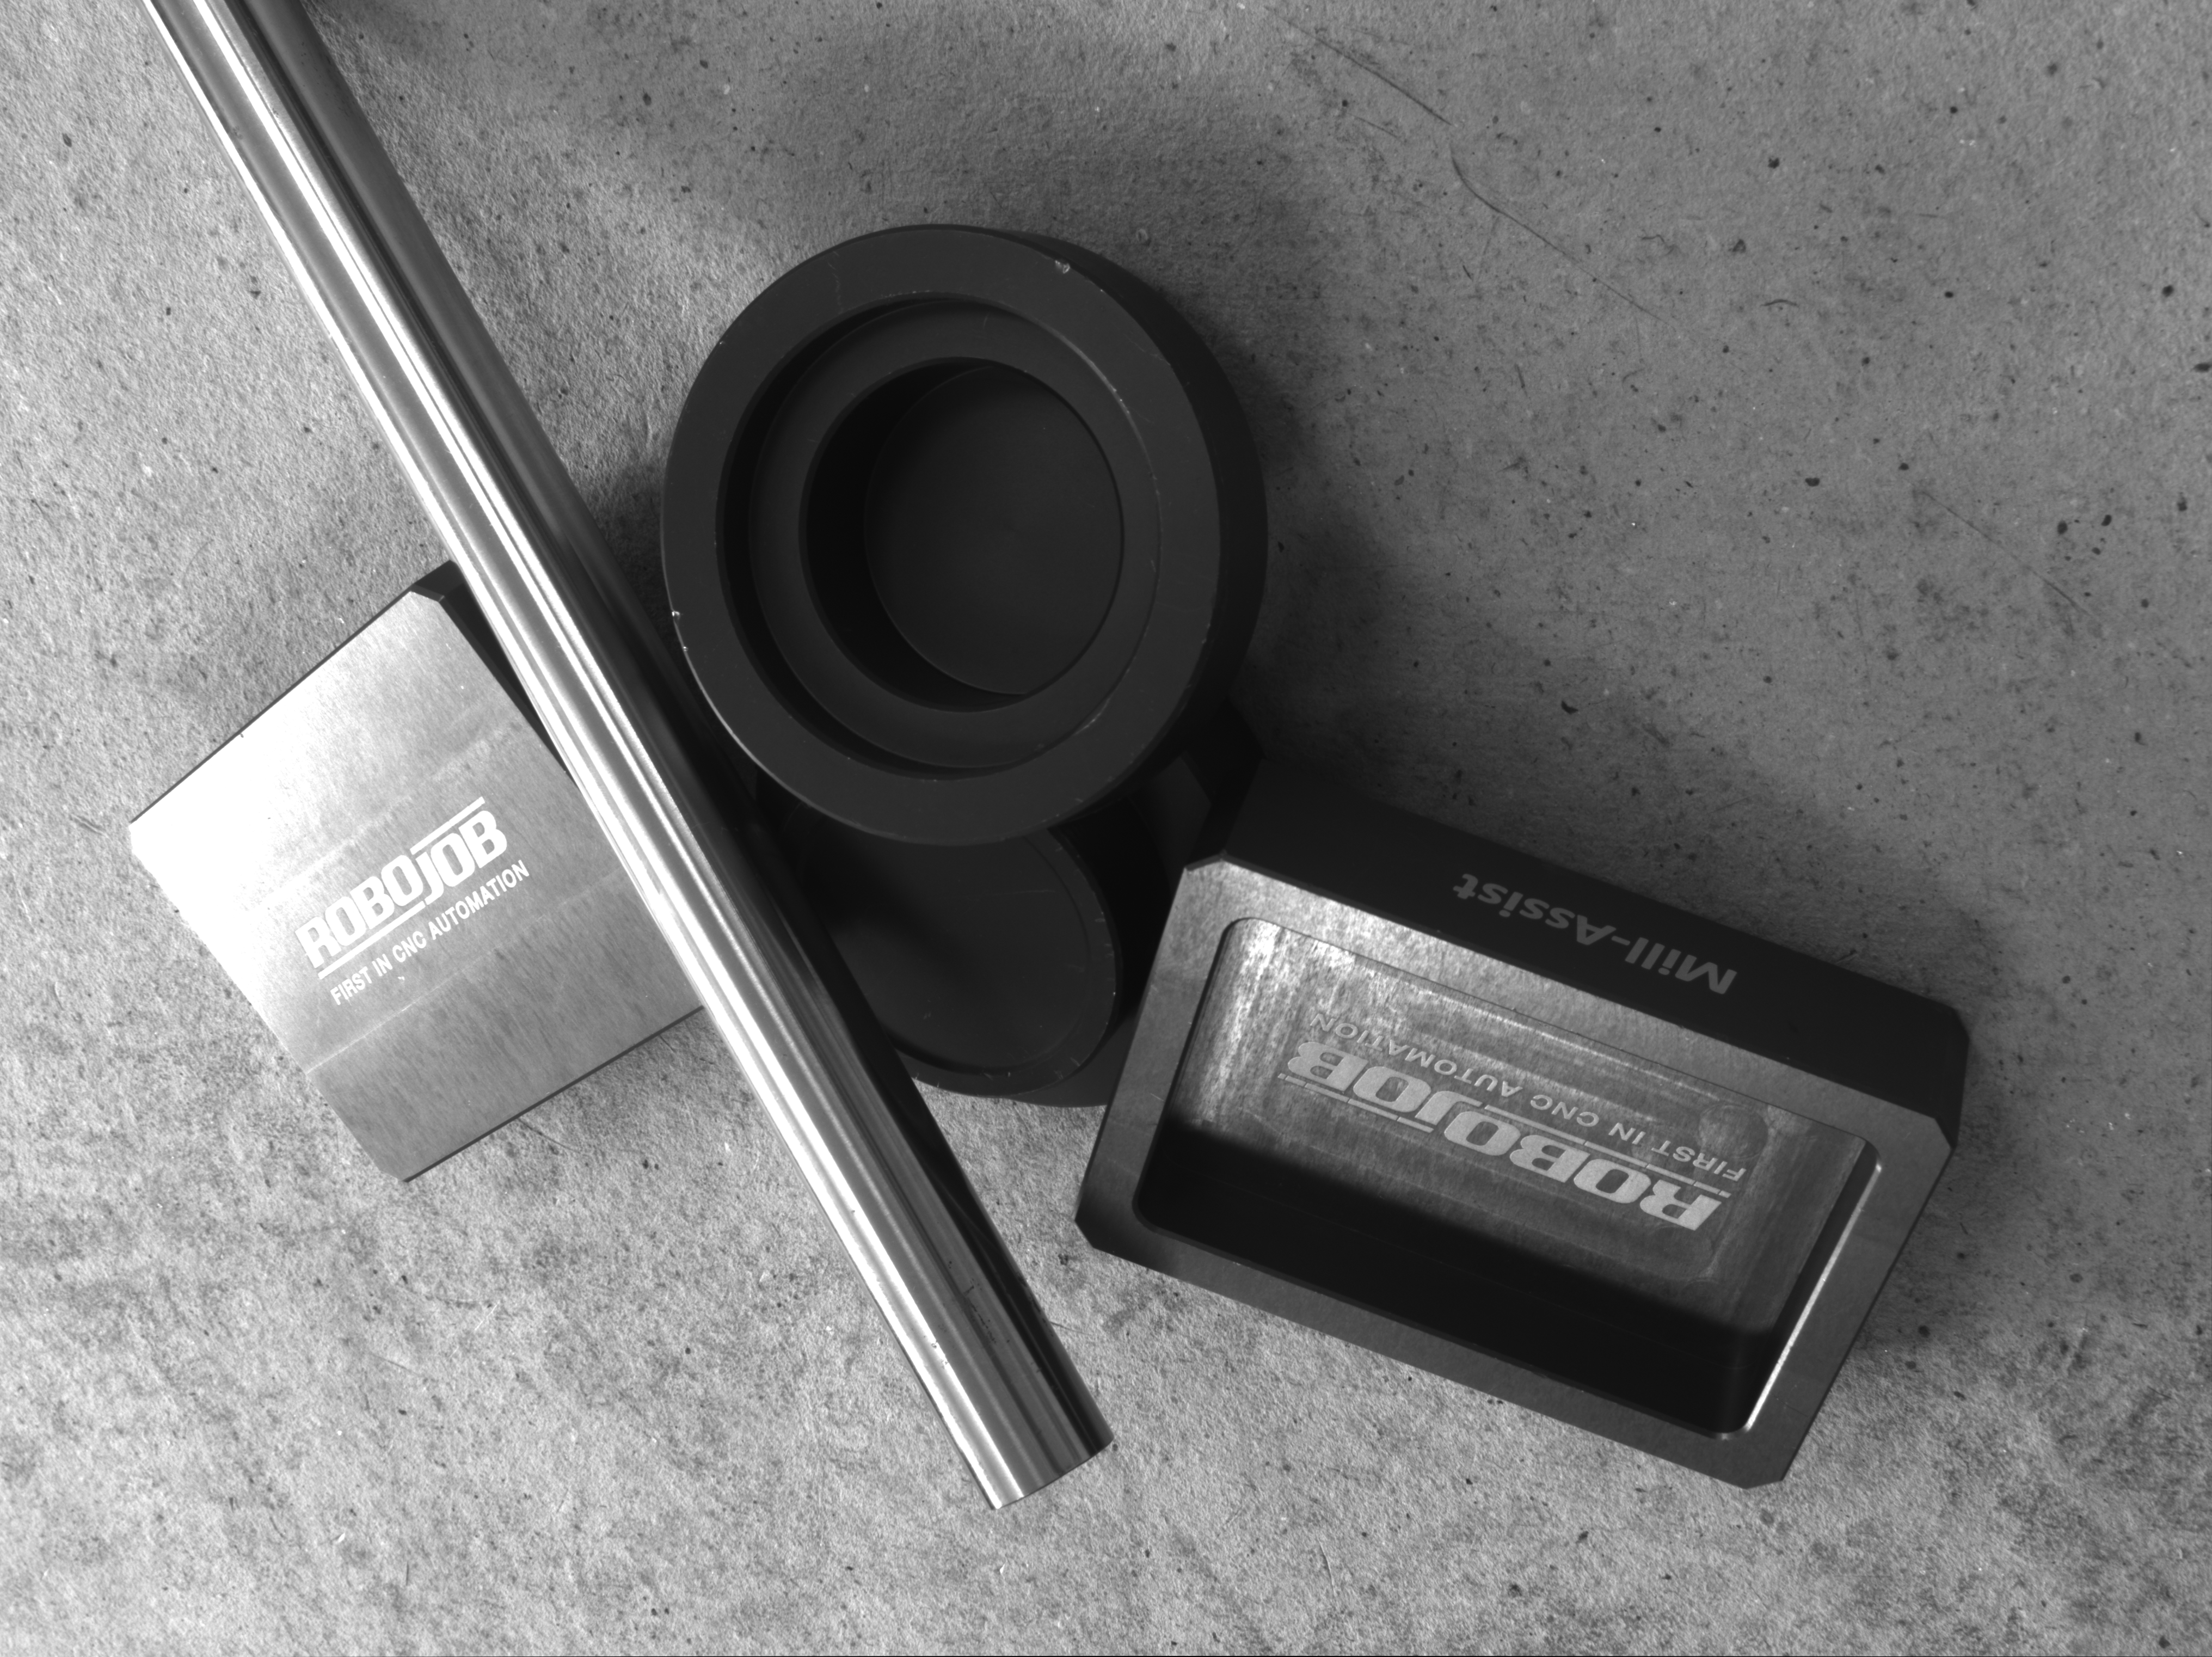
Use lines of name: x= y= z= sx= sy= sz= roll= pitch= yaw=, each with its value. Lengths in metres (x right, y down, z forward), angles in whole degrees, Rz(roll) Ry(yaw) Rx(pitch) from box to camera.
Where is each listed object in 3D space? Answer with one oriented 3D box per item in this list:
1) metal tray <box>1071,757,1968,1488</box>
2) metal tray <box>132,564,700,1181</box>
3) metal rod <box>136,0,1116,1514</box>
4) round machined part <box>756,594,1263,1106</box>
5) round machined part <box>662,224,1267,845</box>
metal tray: x=0.068 y=0.051 z=0.620 sx=0.130 sy=0.030 sz=0.090 roll=20 pitch=127 yaw=4
metal tray: x=-0.122 y=0.007 z=0.696 sx=0.130 sy=0.030 sz=0.090 roll=-29 pitch=99 yaw=46
metal rod: x=-0.083 y=-0.020 z=0.633 sx=0.025 sy=0.025 sz=0.300 roll=-31 pitch=88 yaw=38
round machined part: x=-0.020 y=0.008 z=0.648 sx=0.098 sy=0.042 sz=0.098 roll=13 pitch=124 yaw=21
round machined part: x=-0.020 y=-0.048 z=0.599 sx=0.098 sy=0.042 sz=0.098 roll=3 pitch=98 yaw=22
